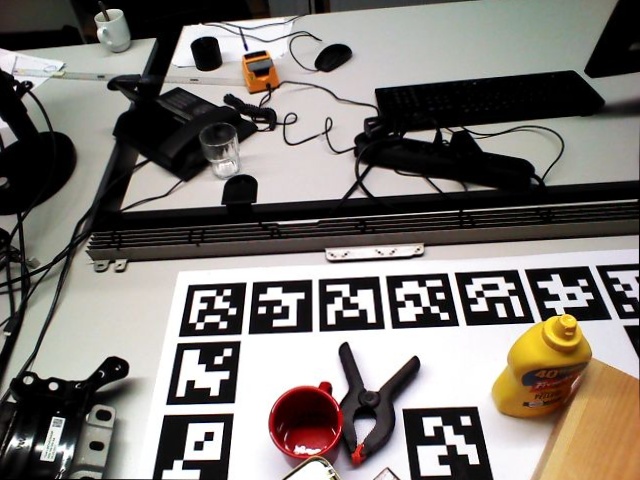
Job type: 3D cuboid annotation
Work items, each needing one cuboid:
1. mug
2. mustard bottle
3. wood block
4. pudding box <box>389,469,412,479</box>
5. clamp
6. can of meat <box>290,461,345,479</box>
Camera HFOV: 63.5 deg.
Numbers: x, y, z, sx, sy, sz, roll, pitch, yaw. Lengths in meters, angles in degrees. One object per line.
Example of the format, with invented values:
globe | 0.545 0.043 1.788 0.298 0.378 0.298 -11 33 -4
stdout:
mug | -0.002 0.244 0.674 0.094 0.082 0.116 14 54 18
mustard bottle | 0.286 0.142 0.623 0.096 0.192 0.058 -8 50 1
wood block | 0.333 0.253 0.595 0.090 0.091 0.205 26 55 28
pudding box | 0.086 0.335 0.584 0.113 0.039 0.090 -35 55 -23
clamp | 0.080 0.211 0.698 0.122 0.037 0.164 12 54 15
can of meat | -0.015 0.307 0.584 0.101 0.084 0.058 -28 53 -16
